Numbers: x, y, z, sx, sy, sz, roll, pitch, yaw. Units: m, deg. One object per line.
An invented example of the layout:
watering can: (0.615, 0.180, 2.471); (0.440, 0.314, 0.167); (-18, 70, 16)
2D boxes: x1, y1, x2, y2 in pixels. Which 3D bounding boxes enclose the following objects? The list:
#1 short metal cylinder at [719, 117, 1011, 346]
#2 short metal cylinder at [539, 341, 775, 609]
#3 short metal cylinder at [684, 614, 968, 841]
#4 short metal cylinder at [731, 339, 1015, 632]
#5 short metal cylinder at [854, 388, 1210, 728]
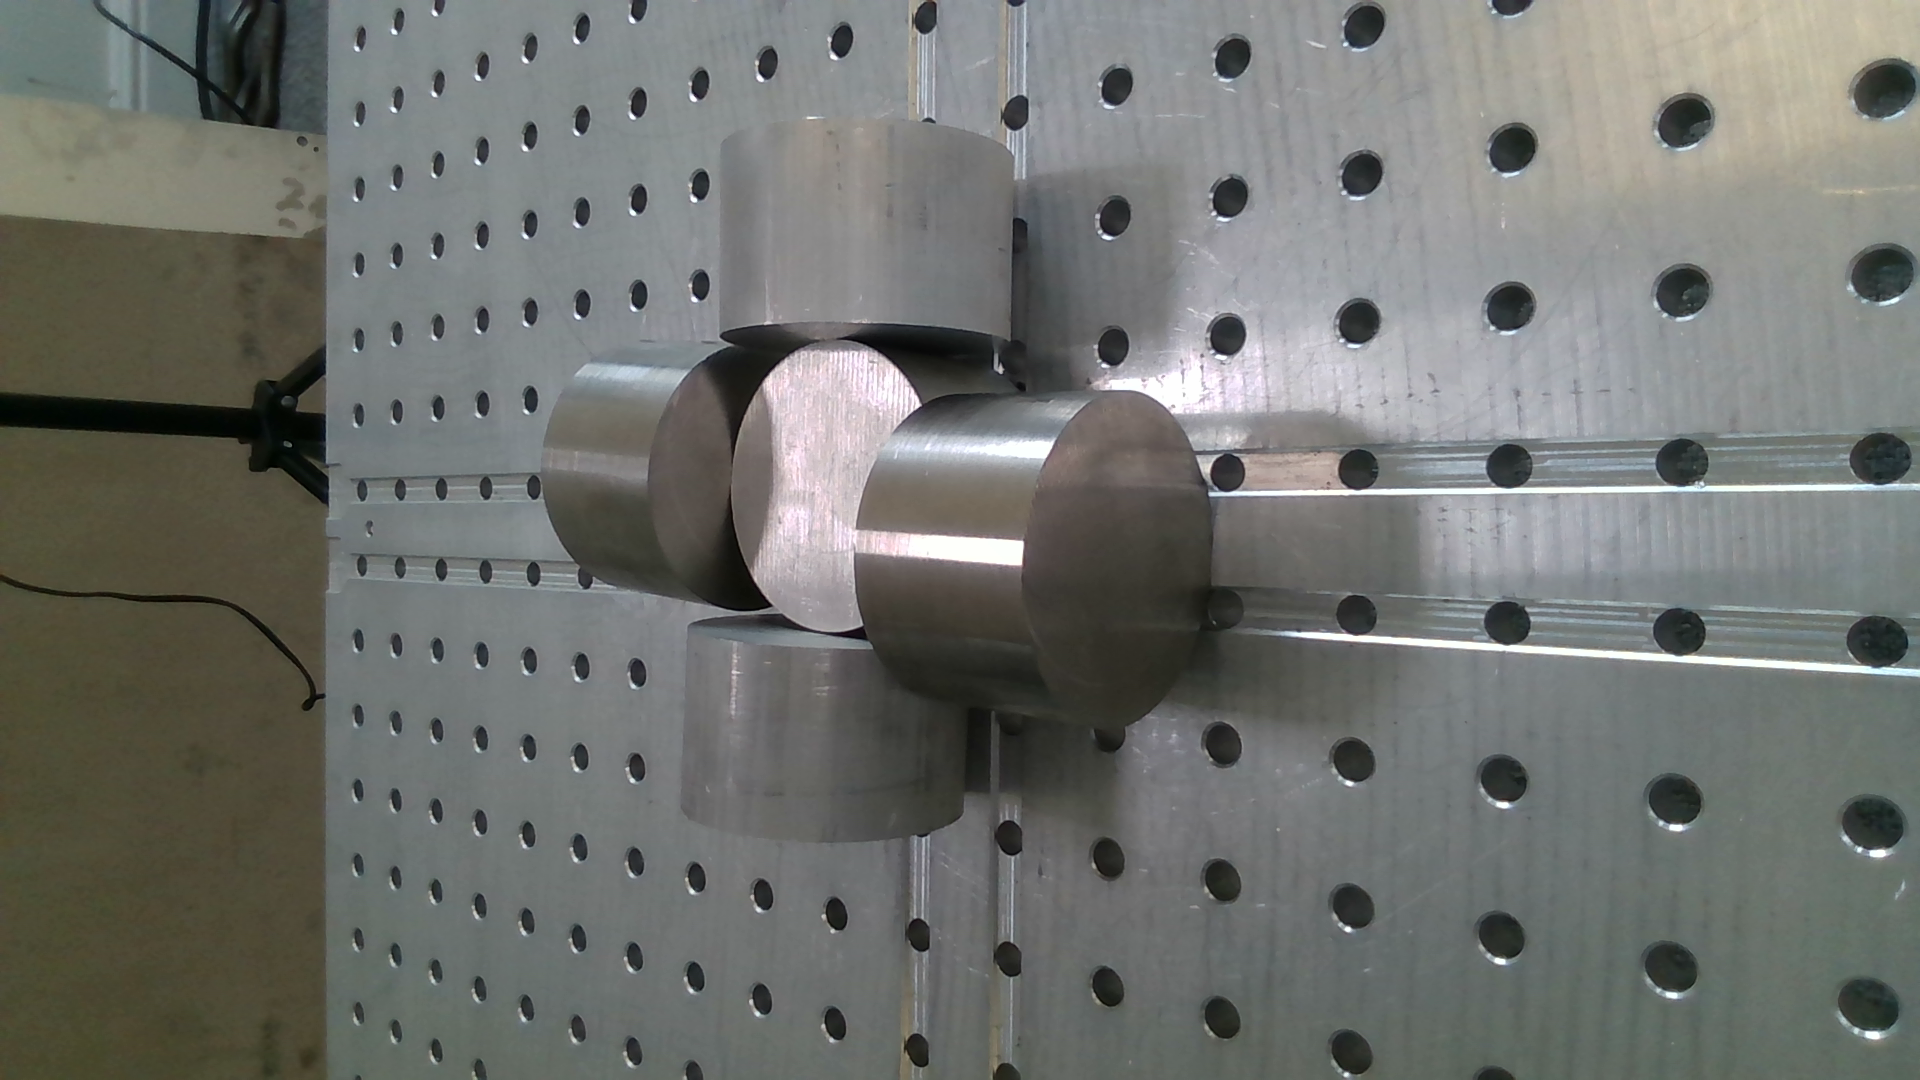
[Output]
short metal cylinder: (-0.026, -0.080, 0.378); (0.080, 0.080, 0.050); (2, 92, 40)
short metal cylinder: (-0.080, -0.022, 0.424); (0.050, 0.080, 0.080); (8, 96, 39)
short metal cylinder: (-0.038, 0.050, 0.391); (0.080, 0.080, 0.050); (5, 94, 40)
short metal cylinder: (-0.020, -0.015, 0.395); (0.080, 0.050, 0.080); (2, 93, 40)
short metal cylinder: (0.020, 0.003, 0.341); (0.050, 0.080, 0.080); (4, 93, 40)
